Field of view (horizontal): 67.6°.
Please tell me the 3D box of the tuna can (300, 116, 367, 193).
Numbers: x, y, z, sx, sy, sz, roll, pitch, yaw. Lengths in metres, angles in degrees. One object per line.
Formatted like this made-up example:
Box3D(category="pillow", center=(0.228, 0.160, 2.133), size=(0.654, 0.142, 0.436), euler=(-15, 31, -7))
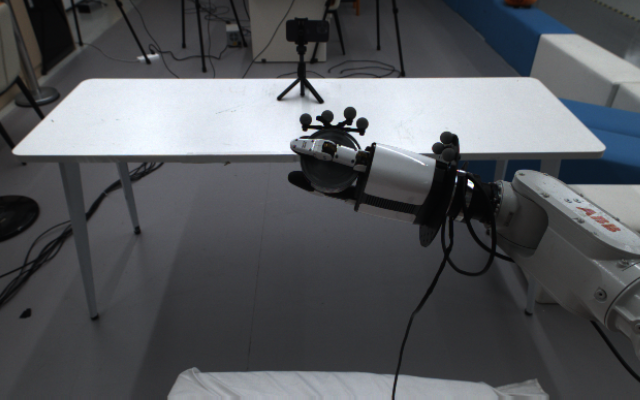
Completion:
Box3D(category="tuna can", center=(0.015, -0.056, 0.667), size=(0.085, 0.034, 0.085), euler=(0, 74, 0))
